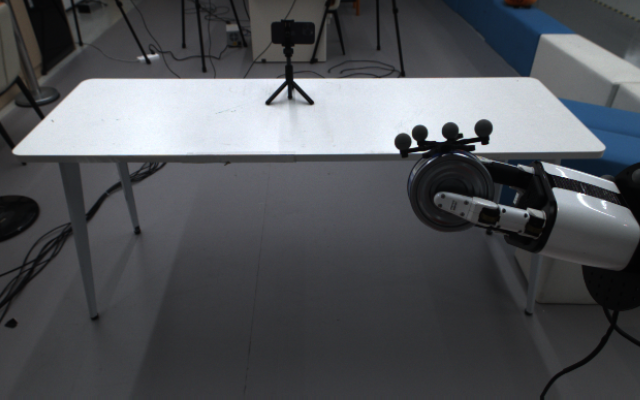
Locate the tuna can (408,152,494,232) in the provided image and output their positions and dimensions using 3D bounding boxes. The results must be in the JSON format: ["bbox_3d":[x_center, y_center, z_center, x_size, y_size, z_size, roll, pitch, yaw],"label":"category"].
[{"bbox_3d":[0.138,-0.013,0.507,0.085,0.085,0.034,6,18,5],"label":"tuna can"}]
